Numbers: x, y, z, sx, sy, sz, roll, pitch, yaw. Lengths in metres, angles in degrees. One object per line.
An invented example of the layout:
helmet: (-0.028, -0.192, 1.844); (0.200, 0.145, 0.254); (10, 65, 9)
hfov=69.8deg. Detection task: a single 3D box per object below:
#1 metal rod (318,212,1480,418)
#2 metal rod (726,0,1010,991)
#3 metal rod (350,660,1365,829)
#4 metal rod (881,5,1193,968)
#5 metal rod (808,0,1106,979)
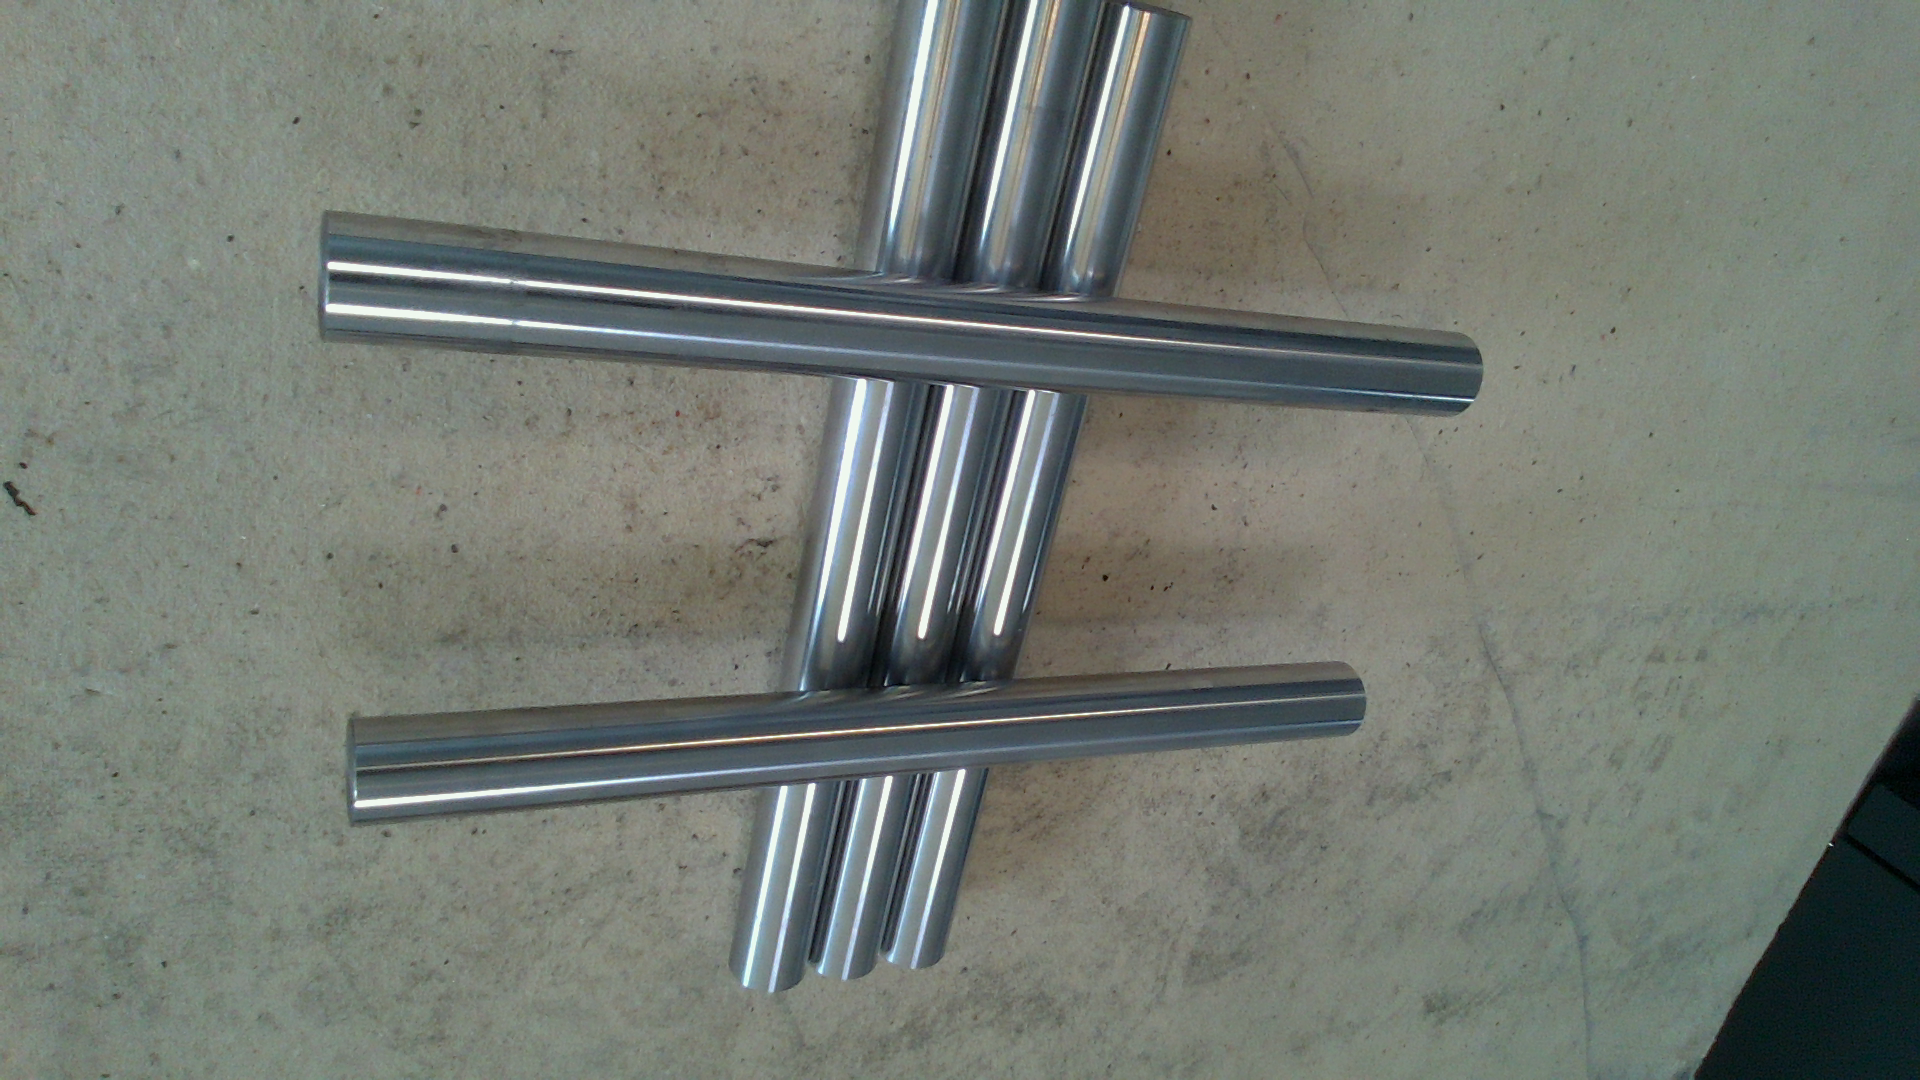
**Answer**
metal rod: (0.011, -0.049, 0.333); (0.301, 0.025, 0.025); (0, 118, -29)
metal rod: (-0.031, 0.003, 0.374); (0.025, 0.025, 0.300); (-1, 119, -28)
metal rod: (-0.007, 0.053, 0.386); (0.301, 0.025, 0.025); (0, 119, -28)
metal rod: (0.014, 0.003, 0.398); (0.025, 0.025, 0.300); (-1, 119, -28)
metal rod: (-0.009, 0.003, 0.386); (0.025, 0.025, 0.300); (-1, 119, -28)
